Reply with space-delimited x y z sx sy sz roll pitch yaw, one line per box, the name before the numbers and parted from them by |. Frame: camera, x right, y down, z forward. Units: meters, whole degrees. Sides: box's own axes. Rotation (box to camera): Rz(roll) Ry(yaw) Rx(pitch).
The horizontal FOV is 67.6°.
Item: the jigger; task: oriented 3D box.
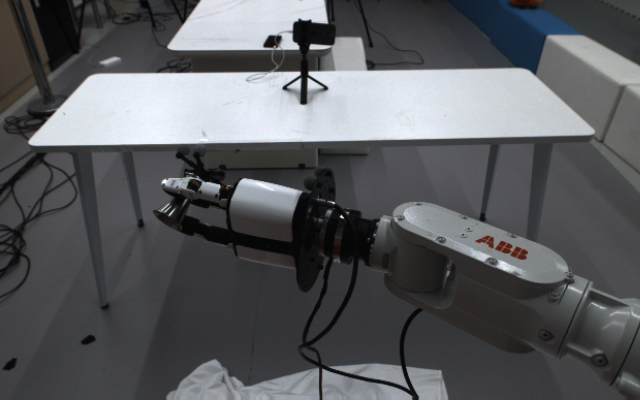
jigger | -0.186 -0.002 0.647 0.043 0.043 0.071 19 62 23
